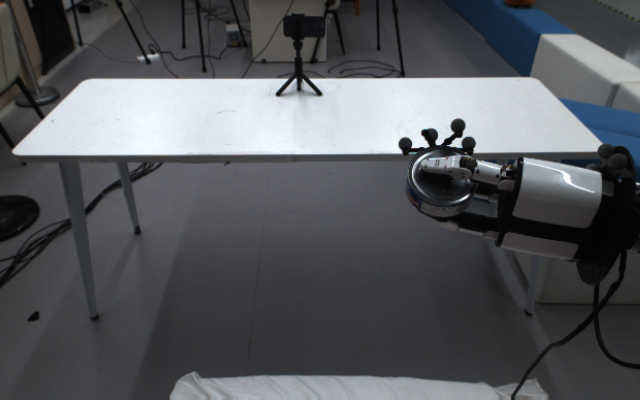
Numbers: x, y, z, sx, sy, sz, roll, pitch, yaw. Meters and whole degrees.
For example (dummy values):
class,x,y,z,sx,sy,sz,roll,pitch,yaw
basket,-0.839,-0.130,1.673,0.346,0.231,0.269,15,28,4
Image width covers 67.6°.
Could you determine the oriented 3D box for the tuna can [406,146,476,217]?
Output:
class,x,y,z,sx,sy,sz,roll,pitch,yaw
tuna can,0.148,-0.024,0.592,0.085,0.034,0.085,-2,58,3
